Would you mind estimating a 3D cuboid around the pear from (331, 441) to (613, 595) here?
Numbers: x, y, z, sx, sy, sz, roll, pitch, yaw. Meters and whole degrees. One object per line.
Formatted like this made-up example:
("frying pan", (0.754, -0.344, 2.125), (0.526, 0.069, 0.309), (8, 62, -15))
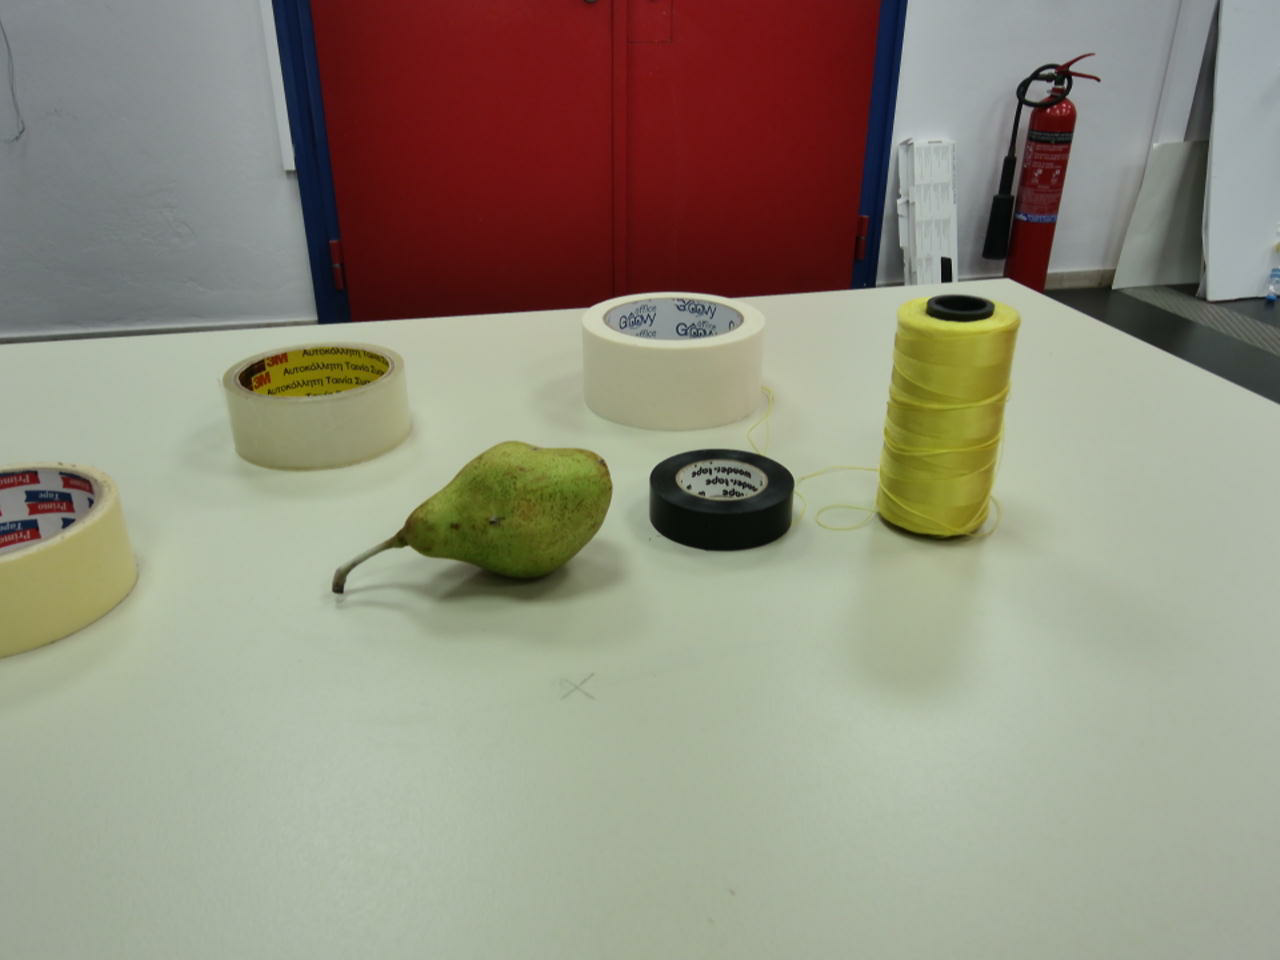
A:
("pear", (-0.066, 0.012, 0.408), (0.111, 0.056, 0.056), (1, 24, 2))
